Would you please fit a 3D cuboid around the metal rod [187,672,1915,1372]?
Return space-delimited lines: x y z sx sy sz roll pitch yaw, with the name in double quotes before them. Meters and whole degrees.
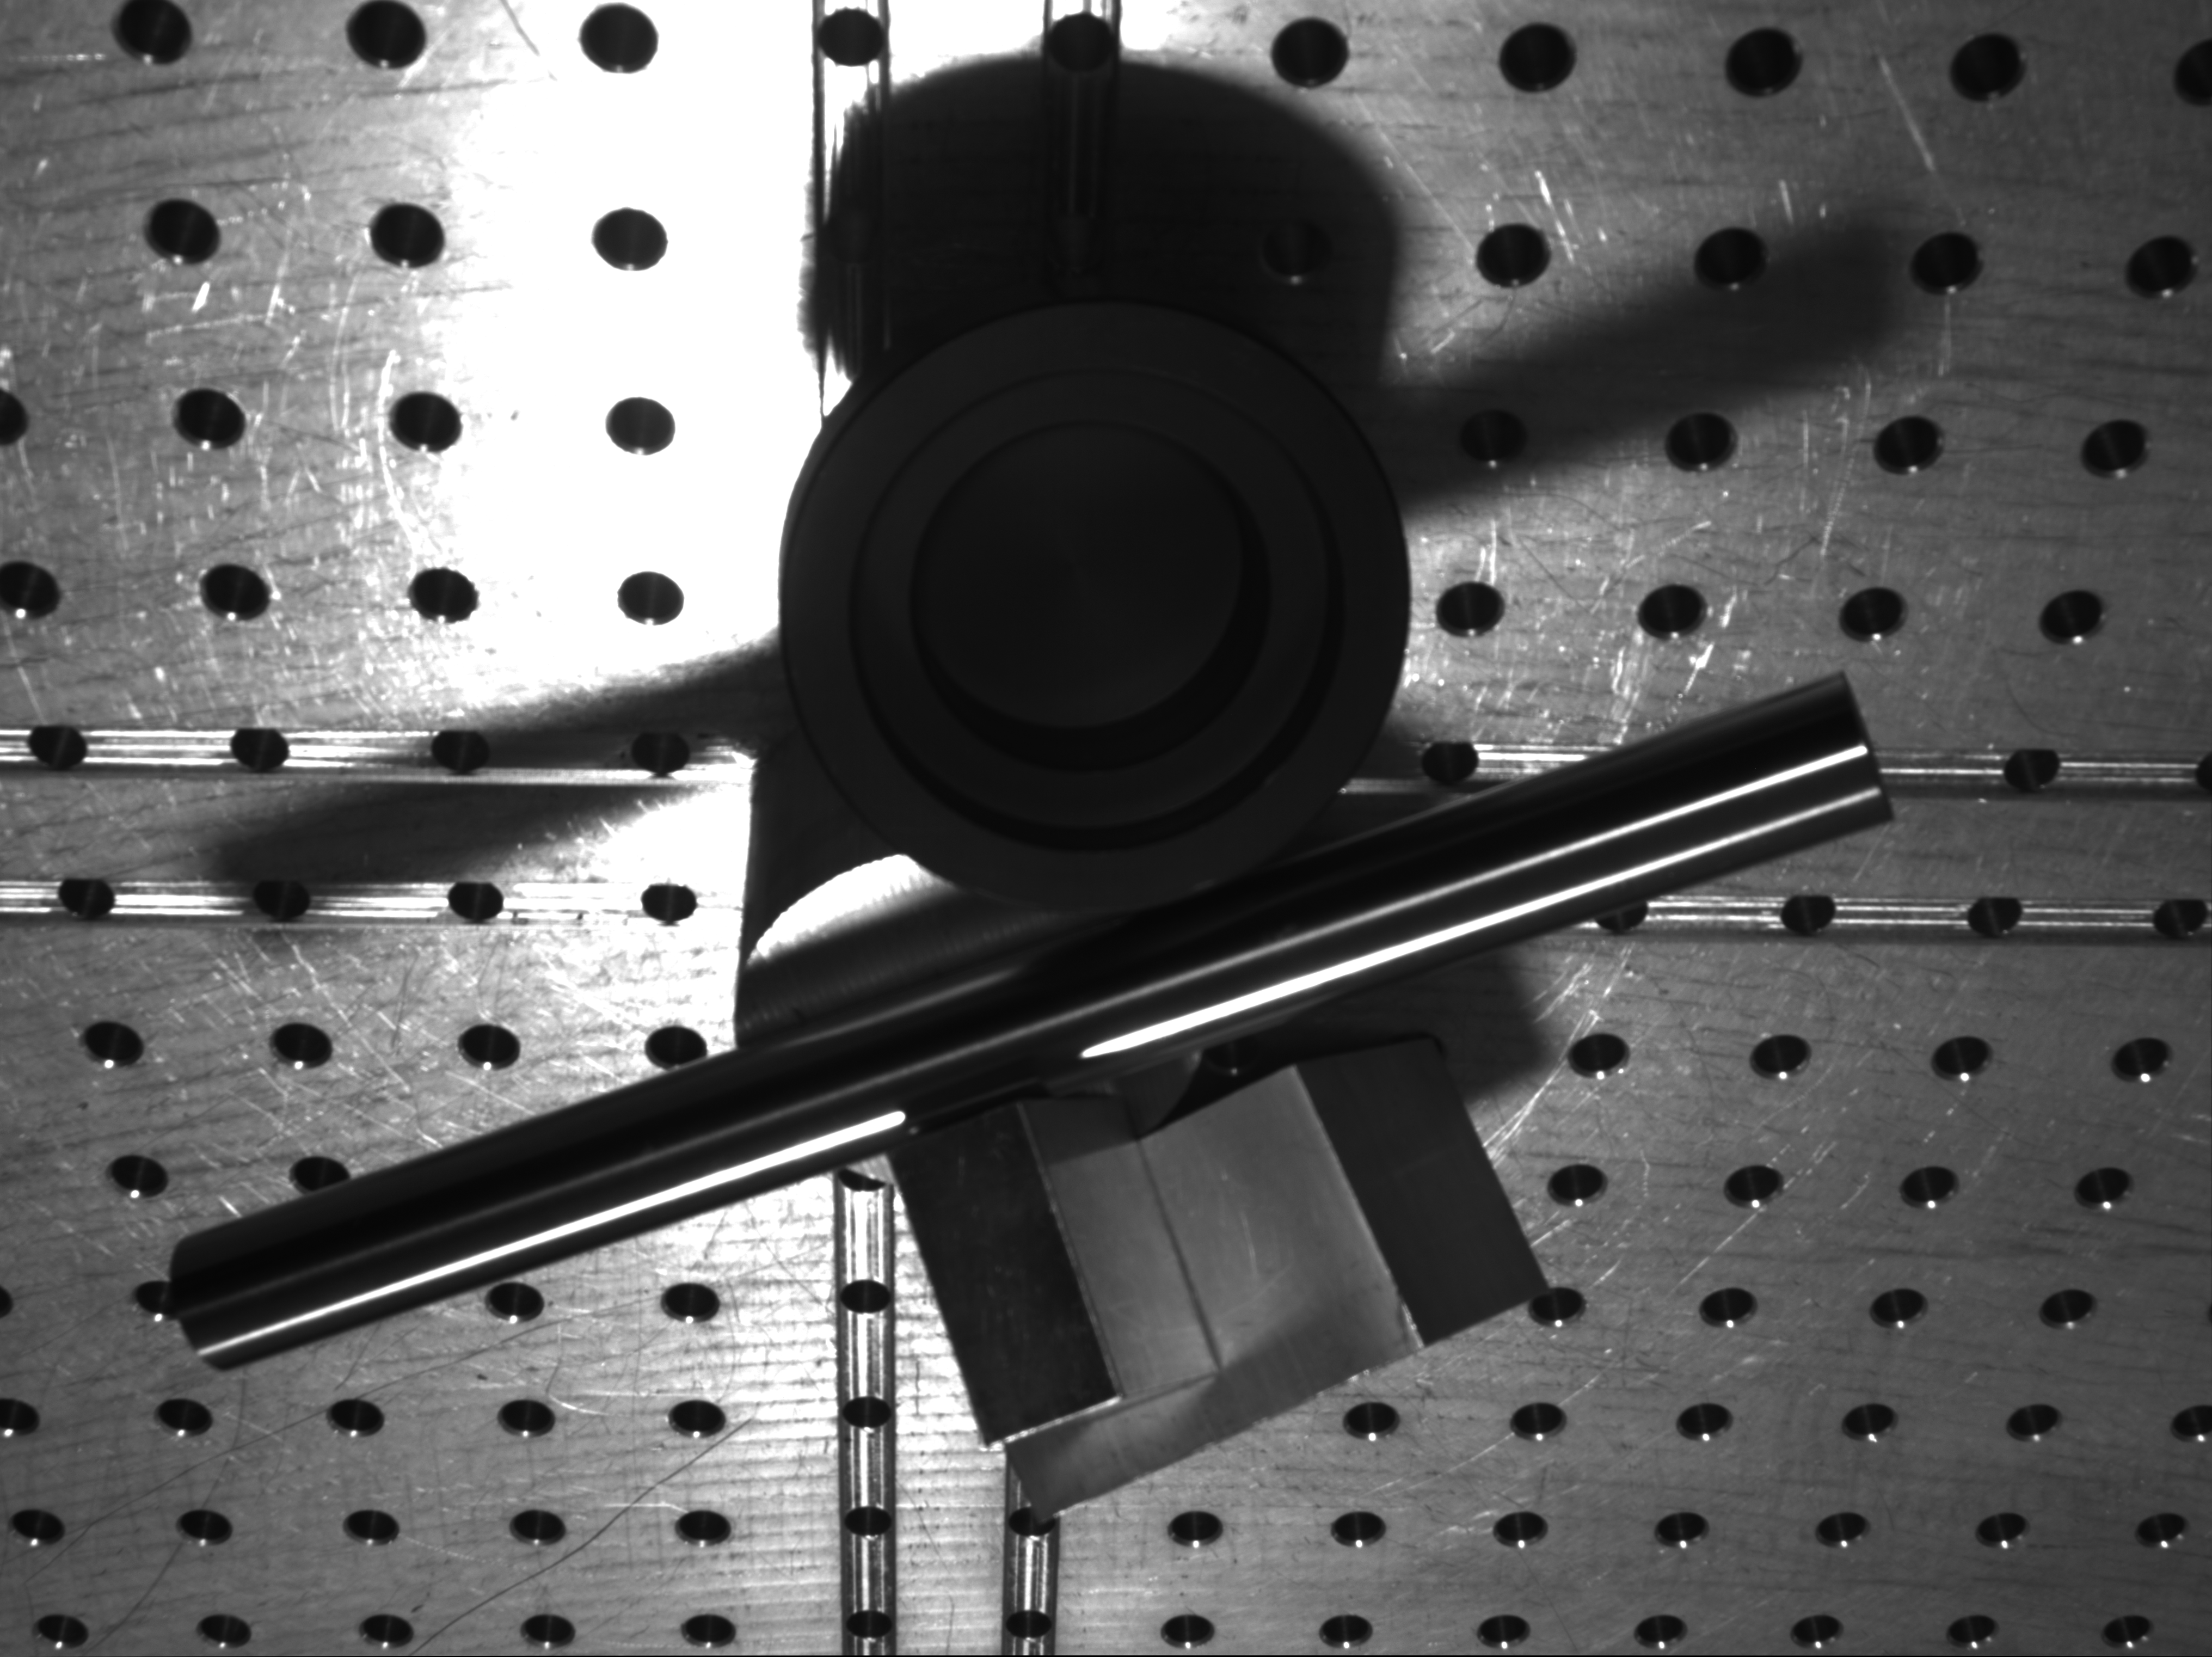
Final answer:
"metal rod" -0.016 0.035 0.604 0.300 0.025 0.025 -19 128 14

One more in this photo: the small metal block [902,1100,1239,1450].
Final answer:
"small metal block" -0.005 0.073 0.607 0.025 0.050 0.050 -23 169 17

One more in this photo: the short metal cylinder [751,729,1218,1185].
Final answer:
"short metal cylinder" -0.020 0.018 0.639 0.080 0.050 0.080 -1 130 -1

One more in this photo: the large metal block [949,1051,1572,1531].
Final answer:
"large metal block" 0.029 0.082 0.665 0.080 0.050 0.080 -28 170 20

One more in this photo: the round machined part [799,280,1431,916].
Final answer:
"round machined part" -0.001 -0.039 0.582 0.098 0.042 0.098 -2 108 -7
